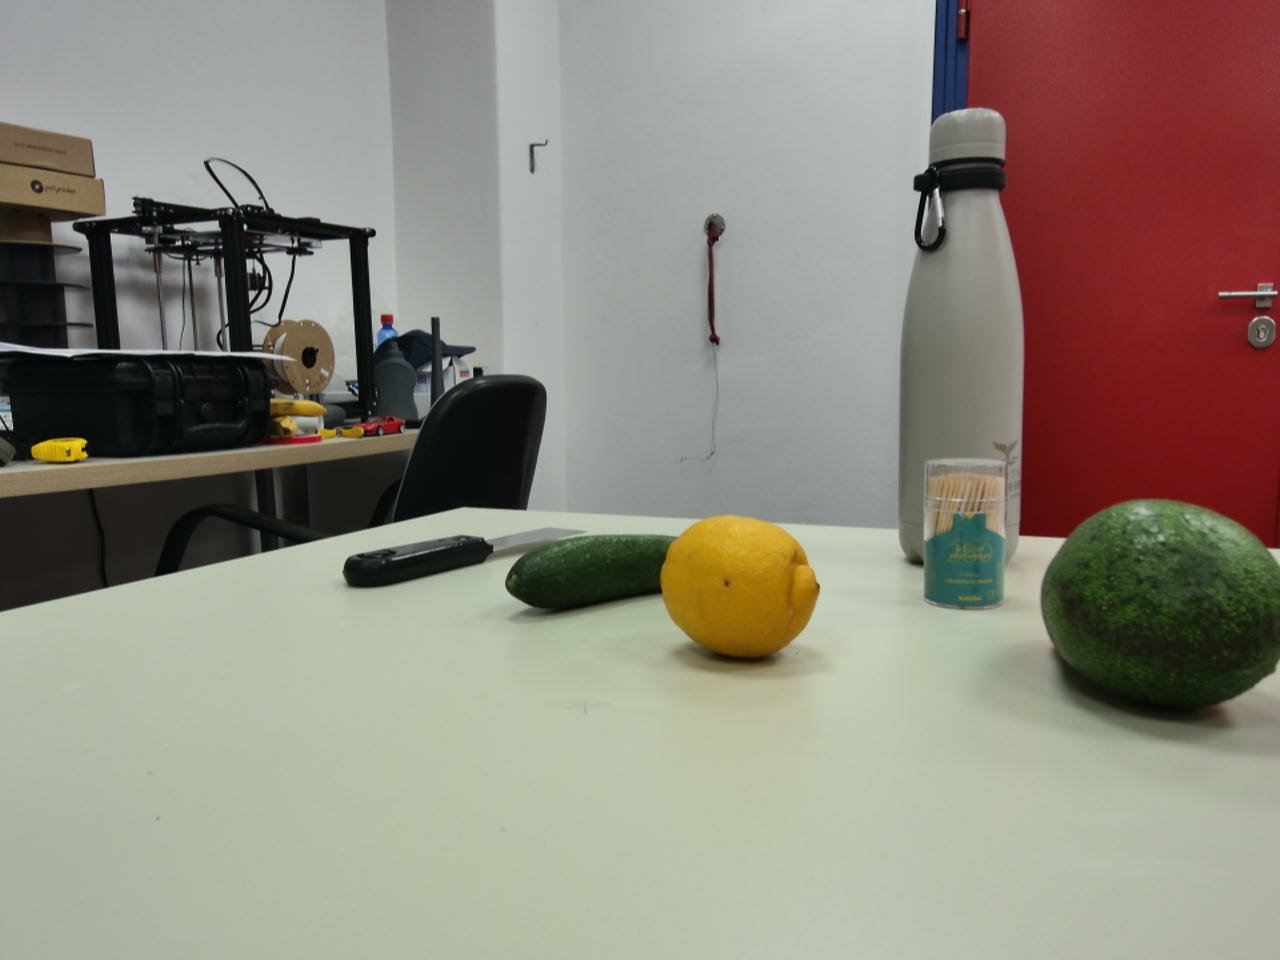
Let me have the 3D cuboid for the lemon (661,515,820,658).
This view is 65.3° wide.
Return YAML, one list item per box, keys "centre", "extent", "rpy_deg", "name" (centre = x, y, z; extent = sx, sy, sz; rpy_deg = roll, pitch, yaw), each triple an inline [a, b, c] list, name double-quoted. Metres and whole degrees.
- centre: [0.042, 0.046, 0.432]
  extent: [0.061, 0.059, 0.067]
  rpy_deg: [-1, 4, -23]
  name: "lemon"
